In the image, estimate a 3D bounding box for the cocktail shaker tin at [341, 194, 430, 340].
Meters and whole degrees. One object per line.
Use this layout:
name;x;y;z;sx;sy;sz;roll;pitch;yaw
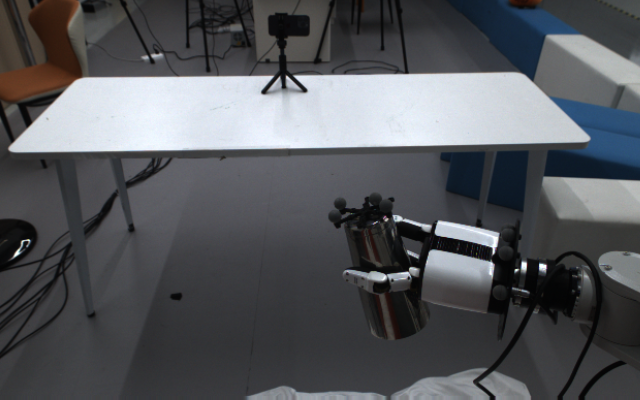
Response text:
cocktail shaker tin;0.089;0.097;0.675;0.093;0.170;0.093;-17;21;7
